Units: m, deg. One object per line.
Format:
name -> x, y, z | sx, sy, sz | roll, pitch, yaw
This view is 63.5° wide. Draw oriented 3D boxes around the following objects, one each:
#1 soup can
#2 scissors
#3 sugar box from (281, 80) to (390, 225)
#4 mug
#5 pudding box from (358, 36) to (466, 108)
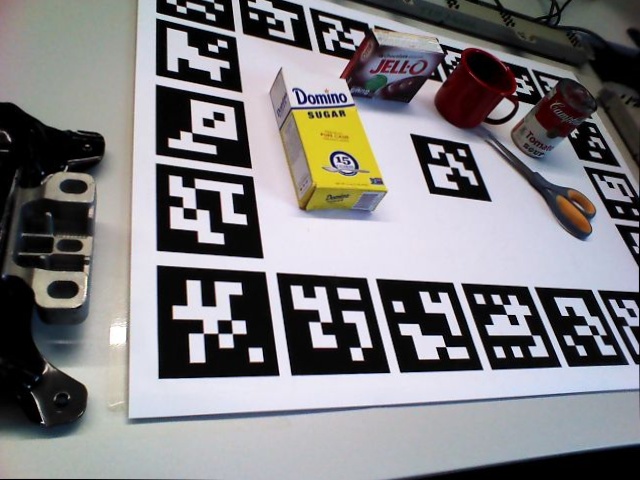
soup can -> 0.365, -0.160, 0.771 | 0.068, 0.103, 0.067 | 12, 56, -18
scissors -> 0.343, -0.062, 0.745 | 0.203, 0.016, 0.087 | 45, 62, 4
sugar box -> 0.016, -0.102, 0.597 | 0.092, 0.045, 0.175 | 1, 63, -23
mug -> 0.253, -0.203, 0.746 | 0.092, 0.082, 0.117 | -35, 79, -34
pudding box -> 0.120, -0.218, 0.680 | 0.113, 0.090, 0.038 | -4, 70, -29
